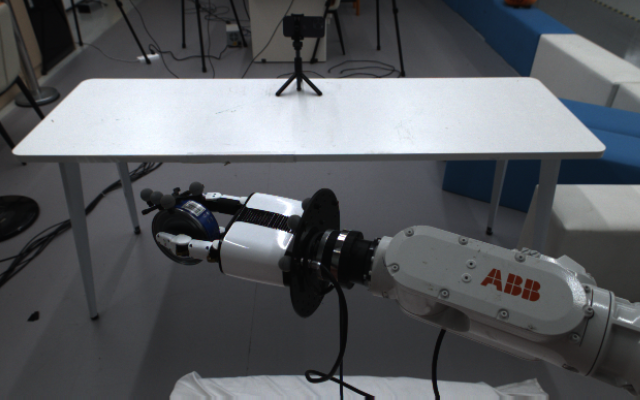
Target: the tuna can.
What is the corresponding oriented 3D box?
[{"bbox_3d":[-0.173,0.044,0.645,0.085,0.085,0.034,13,28,15],"label":"tuna can"}]
